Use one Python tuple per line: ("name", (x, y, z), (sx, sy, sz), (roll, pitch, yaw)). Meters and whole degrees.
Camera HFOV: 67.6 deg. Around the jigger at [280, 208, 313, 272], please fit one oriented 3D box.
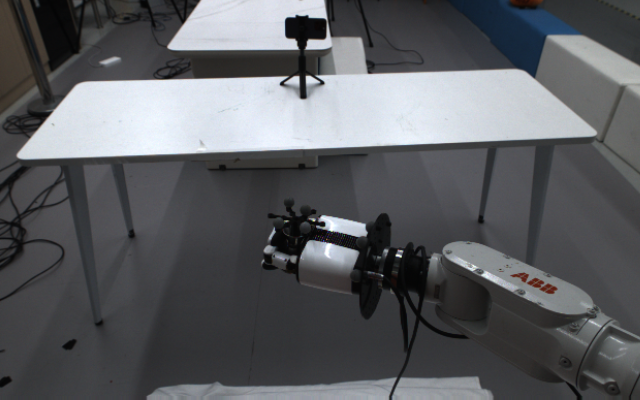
("jigger", (-0.038, 0.076, 0.756), (0.043, 0.071, 0.043), (5, 26, -3))
